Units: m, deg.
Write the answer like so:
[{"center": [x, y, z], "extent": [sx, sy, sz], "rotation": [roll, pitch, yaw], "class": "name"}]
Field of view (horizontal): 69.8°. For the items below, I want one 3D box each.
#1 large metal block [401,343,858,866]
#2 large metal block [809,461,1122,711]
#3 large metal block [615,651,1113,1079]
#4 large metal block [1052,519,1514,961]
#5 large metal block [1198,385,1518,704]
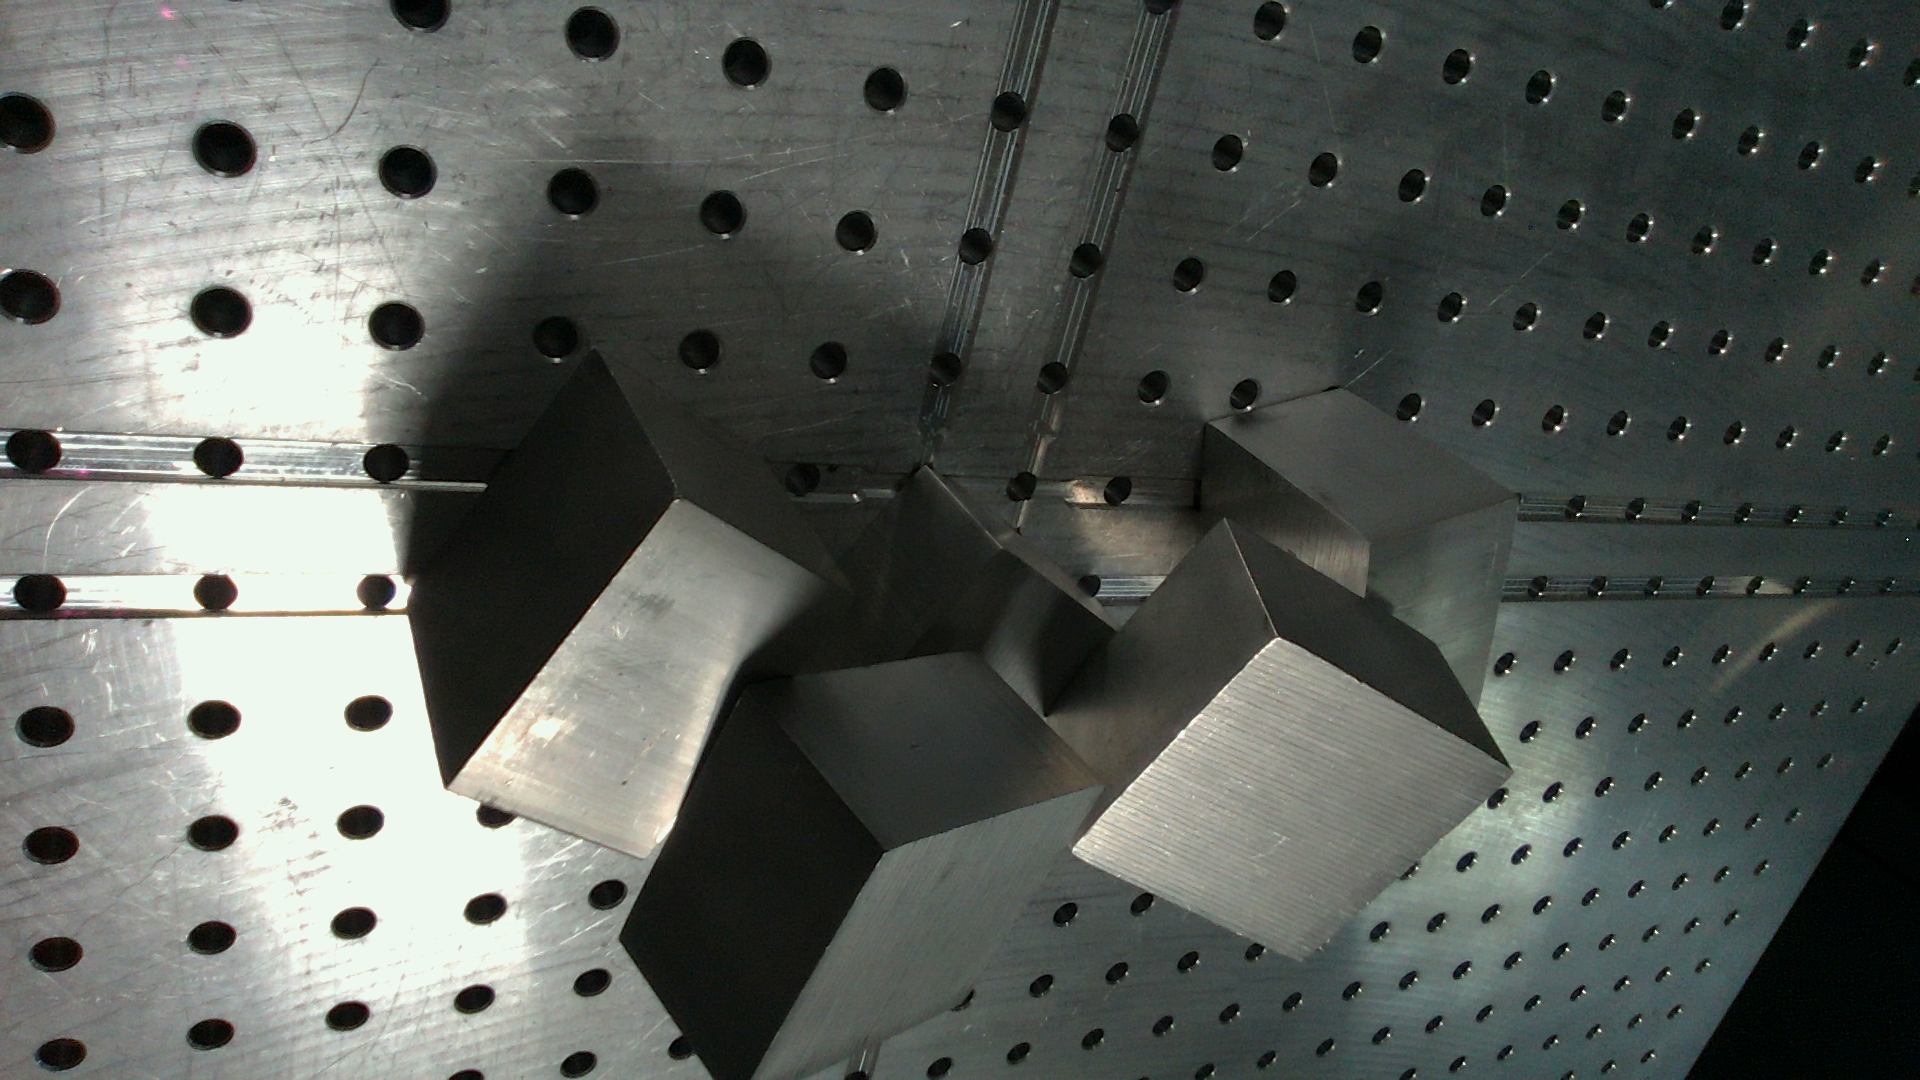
[{"center": [-0.080, 0.013, 0.321], "extent": [0.050, 0.080, 0.080], "rotation": [34, 100, -38], "class": "large metal block"}, {"center": [0.000, 0.038, 0.399], "extent": [0.080, 0.050, 0.080], "rotation": [-49, 129, 6], "class": "large metal block"}, {"center": [-0.022, 0.077, 0.327], "extent": [0.080, 0.050, 0.080], "rotation": [-3, 129, -51], "class": "large metal block"}, {"center": [0.080, 0.054, 0.363], "extent": [0.080, 0.050, 0.080], "rotation": [29, 116, -22], "class": "large metal block"}, {"center": [0.117, 0.009, 0.425], "extent": [0.050, 0.080, 0.080], "rotation": [-15, 125, -20], "class": "large metal block"}]
